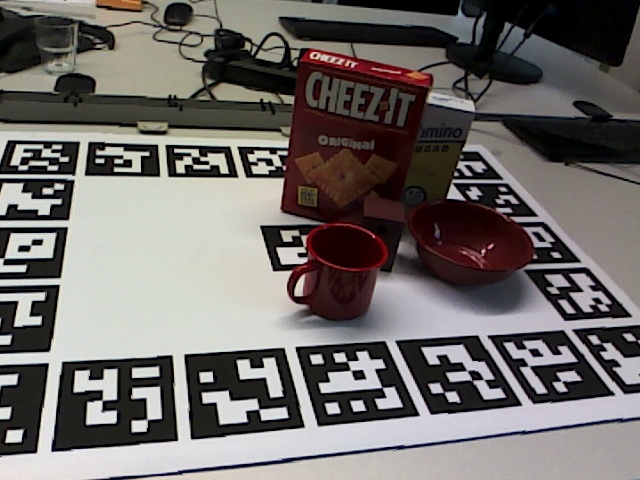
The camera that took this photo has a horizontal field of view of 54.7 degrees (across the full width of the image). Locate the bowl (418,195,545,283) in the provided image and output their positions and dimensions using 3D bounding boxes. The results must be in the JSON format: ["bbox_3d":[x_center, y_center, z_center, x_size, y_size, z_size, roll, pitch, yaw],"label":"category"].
[{"bbox_3d":[0.200,0.006,0.795,0.161,0.055,0.162,7,35,-5],"label":"bowl"}]

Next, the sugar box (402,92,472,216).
[{"bbox_3d":[0.146,-0.119,0.874,0.093,0.176,0.045,11,34,2],"label":"sugar box"}]

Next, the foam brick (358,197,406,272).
[{"bbox_3d":[0.074,-0.007,0.789,0.053,0.078,0.051,7,33,-3],"label":"foam brick"}]

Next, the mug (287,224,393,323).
[{"bbox_3d":[0.019,0.040,0.688,0.116,0.081,0.094,-8,30,-22],"label":"mug"}]

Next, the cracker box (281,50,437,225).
[{"bbox_3d":[0.046,-0.123,0.825,0.164,0.213,0.072,16,32,8],"label":"cracker box"}]
